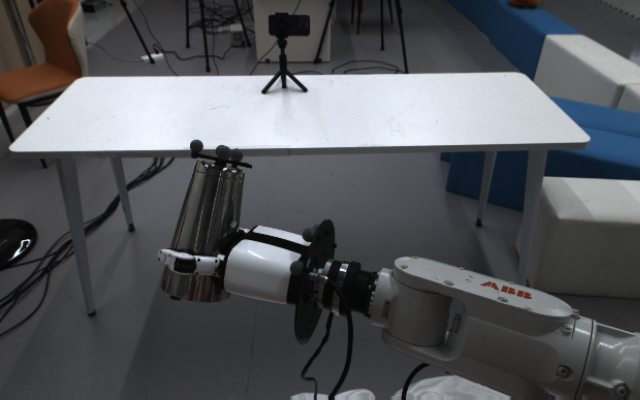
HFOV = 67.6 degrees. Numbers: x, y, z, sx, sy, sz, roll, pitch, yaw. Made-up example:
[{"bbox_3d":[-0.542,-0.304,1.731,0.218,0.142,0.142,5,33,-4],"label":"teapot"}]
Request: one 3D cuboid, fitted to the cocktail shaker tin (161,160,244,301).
[{"bbox_3d":[-0.148,0.039,0.641,0.093,0.170,0.093,12,5,-1],"label":"cocktail shaker tin"}]
